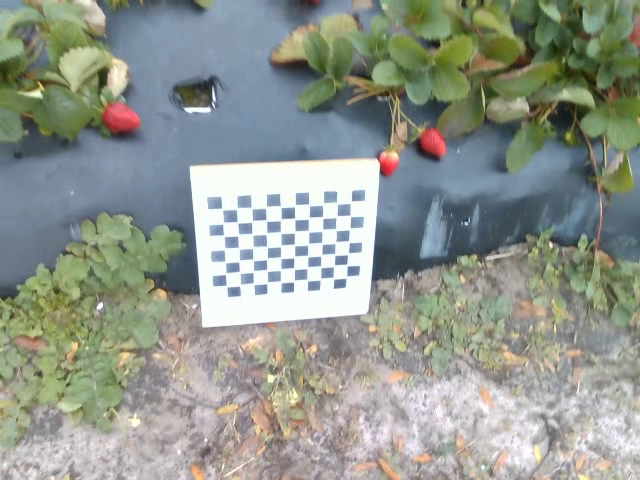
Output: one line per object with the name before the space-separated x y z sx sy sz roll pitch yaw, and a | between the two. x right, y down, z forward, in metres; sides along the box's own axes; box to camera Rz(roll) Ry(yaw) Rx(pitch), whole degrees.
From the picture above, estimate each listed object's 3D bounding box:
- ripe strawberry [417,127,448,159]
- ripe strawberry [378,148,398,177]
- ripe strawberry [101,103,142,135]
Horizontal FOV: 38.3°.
ripe strawberry | 0.185 -0.154 1.488 0.044 0.059 0.042 -40 9 20
ripe strawberry | 0.114 -0.120 1.471 0.036 0.041 0.028 0 10 -5
ripe strawberry | -0.291 -0.178 1.388 0.064 0.046 0.049 19 33 11
